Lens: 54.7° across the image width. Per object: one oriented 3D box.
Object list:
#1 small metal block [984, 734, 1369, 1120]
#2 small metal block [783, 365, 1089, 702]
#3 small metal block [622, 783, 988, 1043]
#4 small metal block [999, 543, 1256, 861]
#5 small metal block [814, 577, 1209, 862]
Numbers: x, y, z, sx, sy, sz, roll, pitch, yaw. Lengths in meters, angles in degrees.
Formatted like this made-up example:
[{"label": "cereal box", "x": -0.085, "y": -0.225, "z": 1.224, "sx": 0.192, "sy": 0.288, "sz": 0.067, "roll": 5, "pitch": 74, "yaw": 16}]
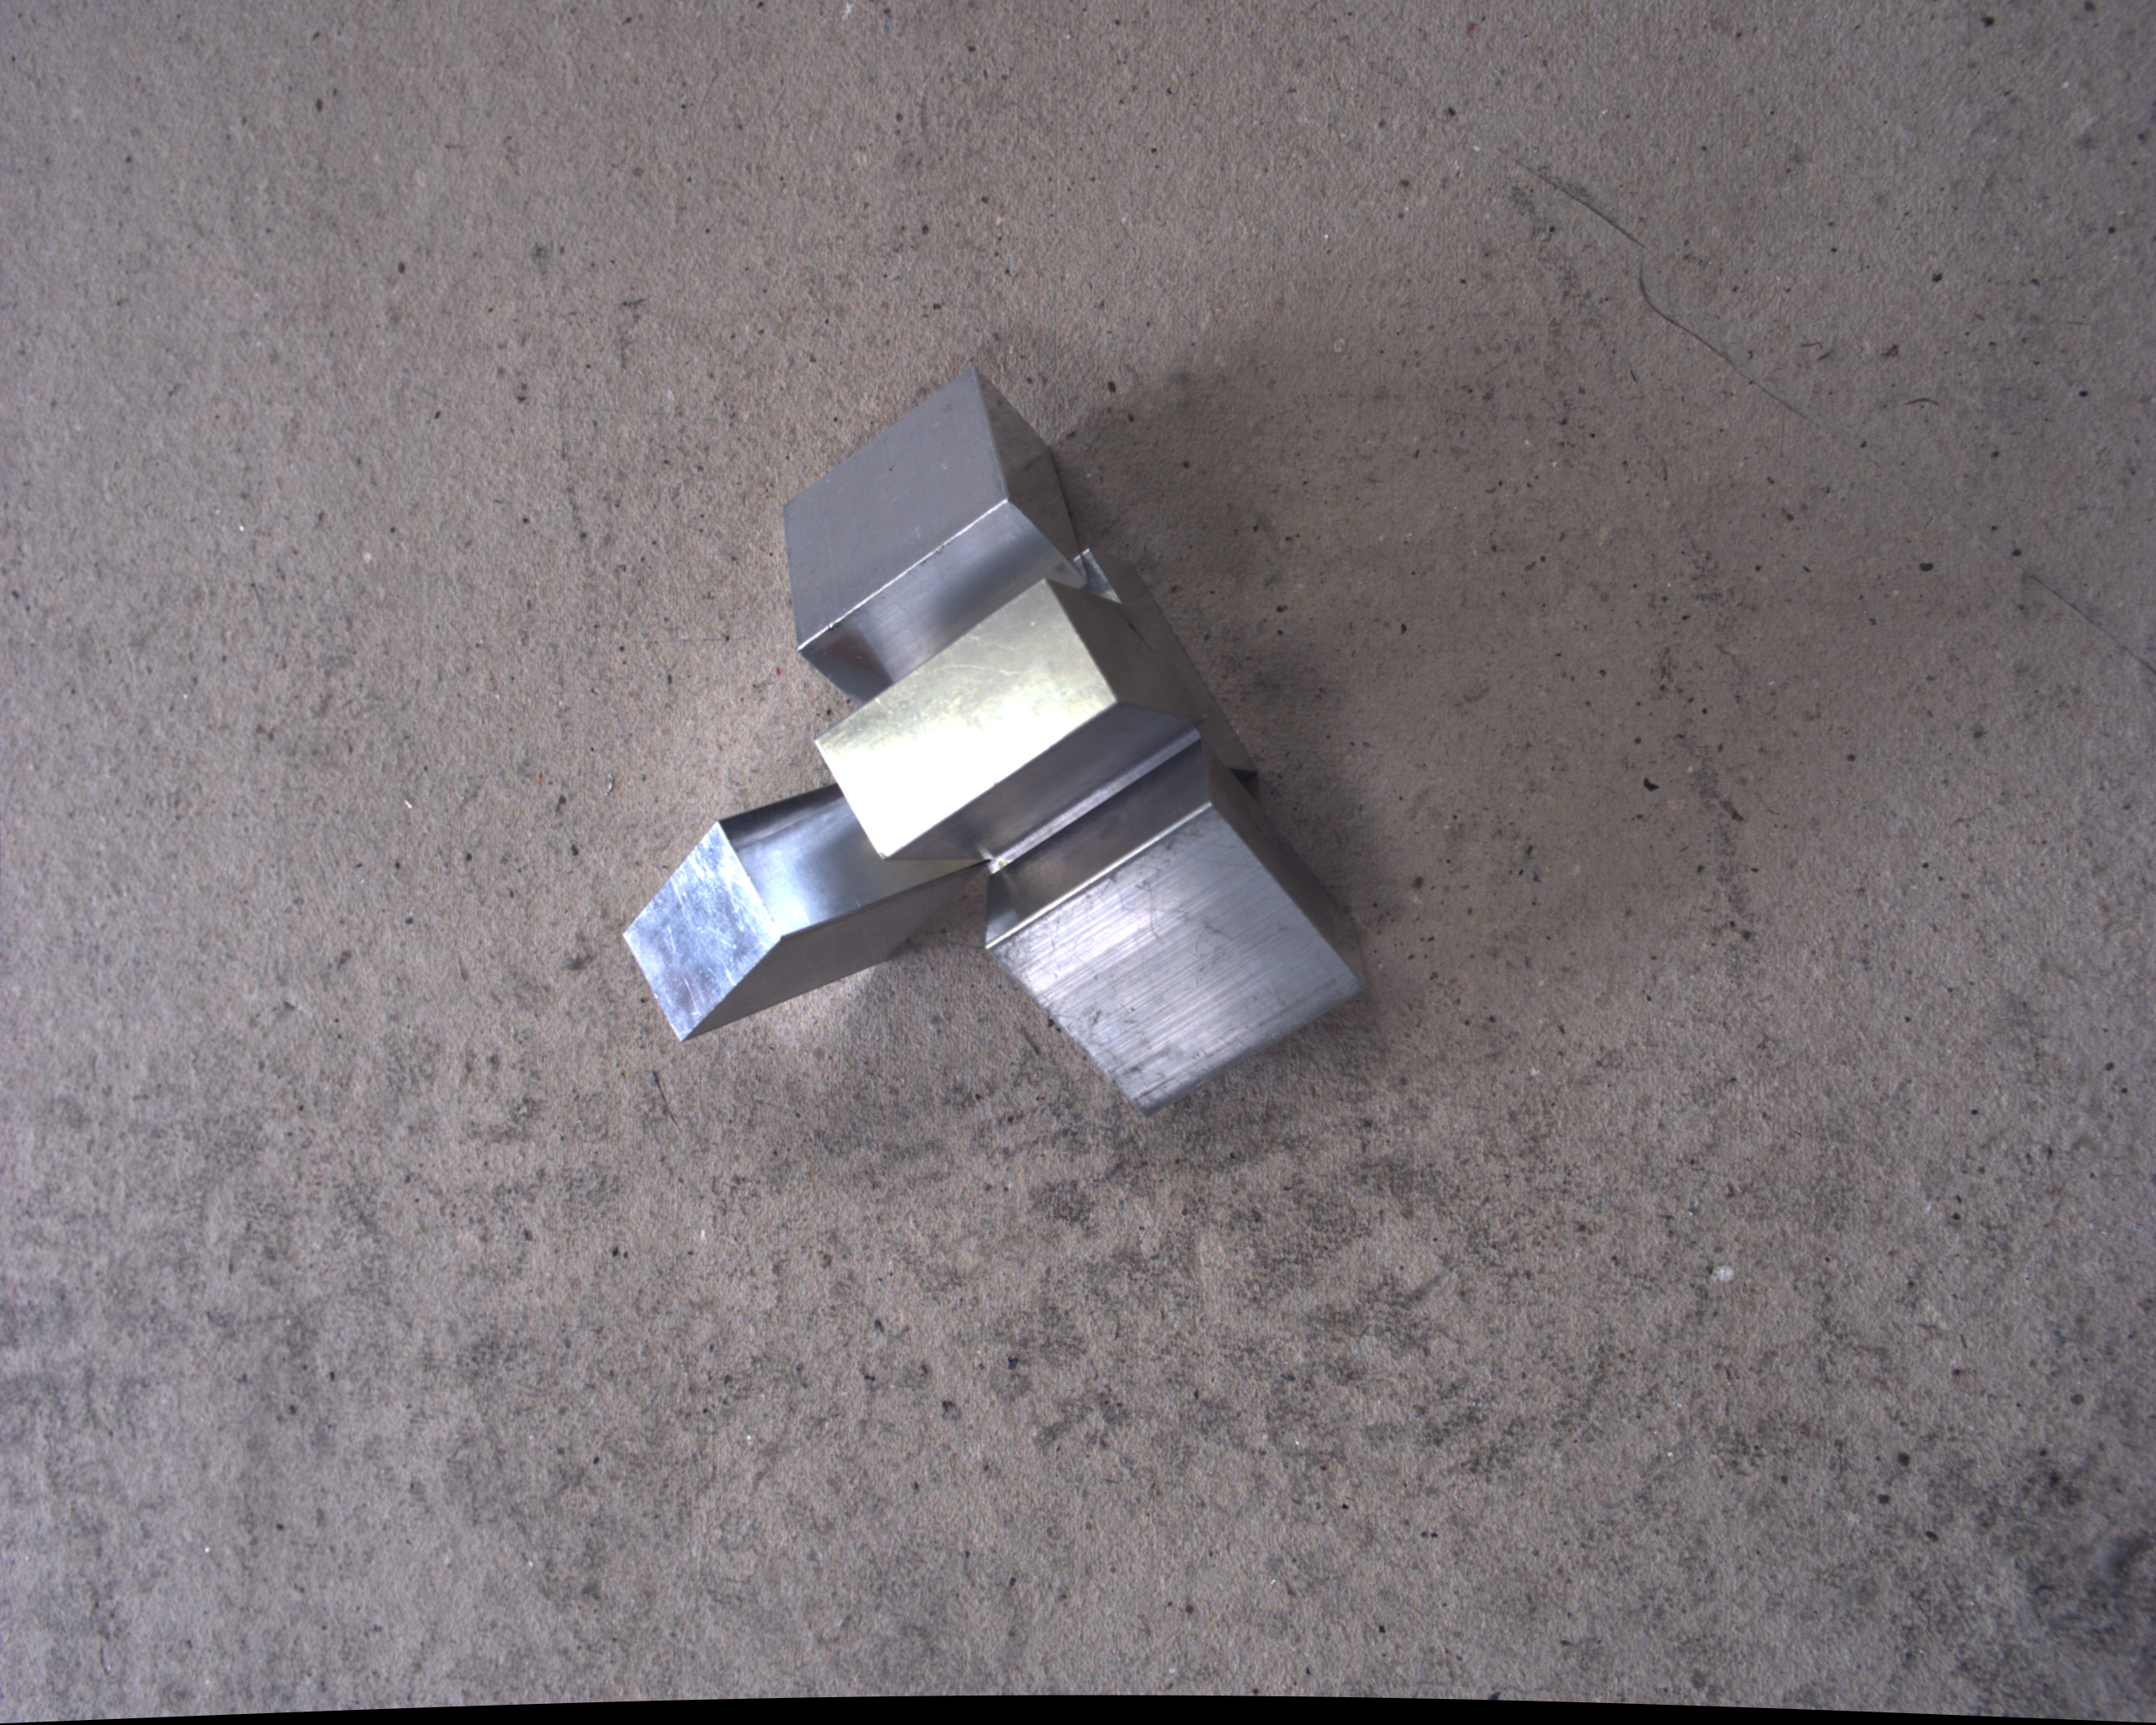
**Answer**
[{"label": "small metal block", "x": 0.018, "y": 0.013, "z": 0.391, "sx": 0.050, "sy": 0.025, "sz": 0.050, "roll": -34, "pitch": 116, "yaw": 17}, {"label": "small metal block", "x": -0.029, "y": -0.062, "z": 0.407, "sx": 0.050, "sy": 0.025, "sz": 0.050, "roll": -33, "pitch": 39, "yaw": 17}, {"label": "small metal block", "x": -0.053, "y": 0.007, "z": 0.406, "sx": 0.050, "sy": 0.050, "sz": 0.025, "roll": -41, "pitch": 76, "yaw": 49}, {"label": "small metal block", "x": -0.002, "y": -0.027, "z": 0.411, "sx": 0.050, "sy": 0.025, "sz": 0.050, "roll": -34, "pitch": 79, "yaw": 19}, {"label": "small metal block", "x": -0.011, "y": -0.024, "z": 0.374, "sx": 0.050, "sy": 0.050, "sz": 0.025, "roll": -33, "pitch": 80, "yaw": 17}]
